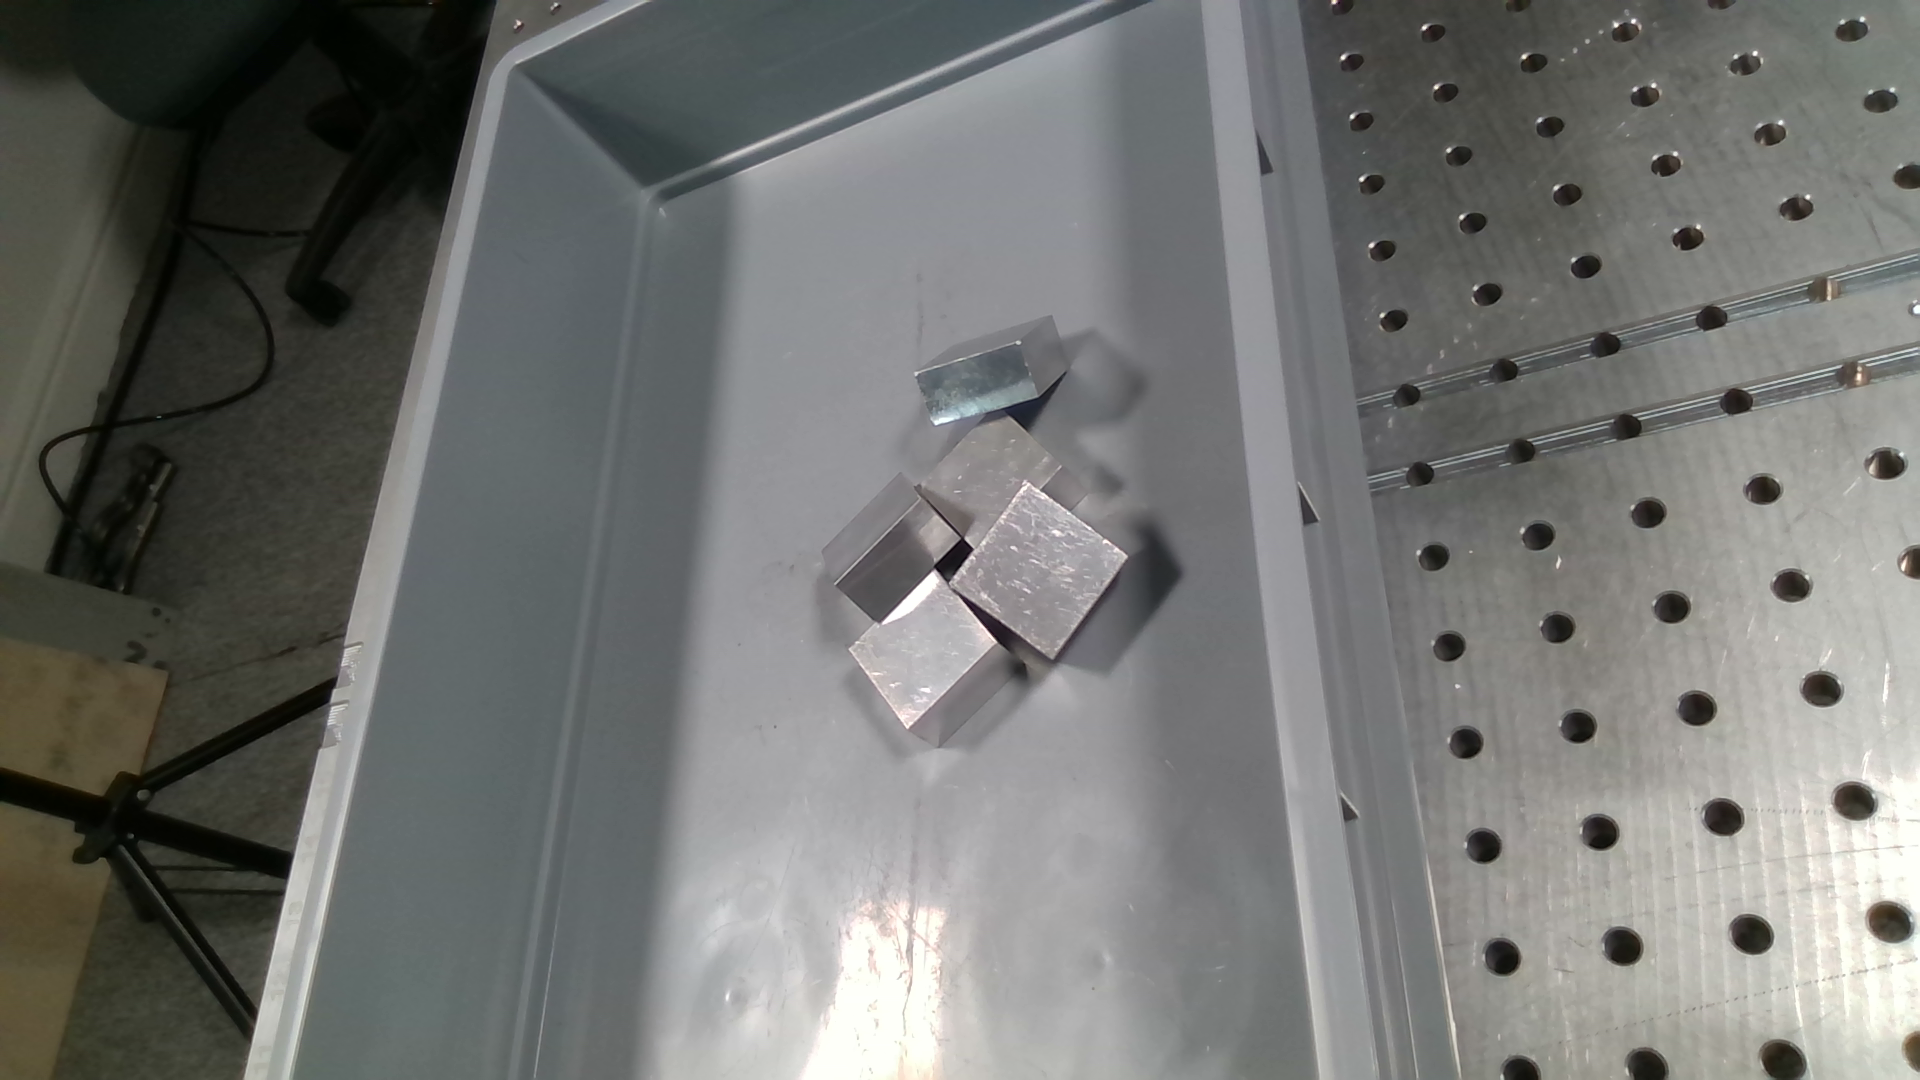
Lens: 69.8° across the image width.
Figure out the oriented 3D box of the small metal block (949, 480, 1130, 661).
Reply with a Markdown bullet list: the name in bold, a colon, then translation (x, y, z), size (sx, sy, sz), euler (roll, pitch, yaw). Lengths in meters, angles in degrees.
- **small metal block**: translation (0.031, 0.013, 0.543), size (0.050, 0.025, 0.050), euler (37, 87, 4)

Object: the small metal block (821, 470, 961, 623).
- **small metal block**: translation (-0.031, 0.002, 0.587), size (0.050, 0.025, 0.050), euler (-45, 19, 3)

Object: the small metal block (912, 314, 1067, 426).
- **small metal block**: translation (0.014, -0.074, 0.597), size (0.050, 0.025, 0.050), euler (-14, 15, 25)

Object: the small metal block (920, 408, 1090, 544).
- **small metal block**: translation (0.018, -0.021, 0.584), size (0.050, 0.025, 0.050), euler (-46, 51, 3)

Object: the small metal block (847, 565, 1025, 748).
- **small metal block**: translation (-0.010, 0.048, 0.565), size (0.050, 0.025, 0.050), euler (-45, 51, 4)
